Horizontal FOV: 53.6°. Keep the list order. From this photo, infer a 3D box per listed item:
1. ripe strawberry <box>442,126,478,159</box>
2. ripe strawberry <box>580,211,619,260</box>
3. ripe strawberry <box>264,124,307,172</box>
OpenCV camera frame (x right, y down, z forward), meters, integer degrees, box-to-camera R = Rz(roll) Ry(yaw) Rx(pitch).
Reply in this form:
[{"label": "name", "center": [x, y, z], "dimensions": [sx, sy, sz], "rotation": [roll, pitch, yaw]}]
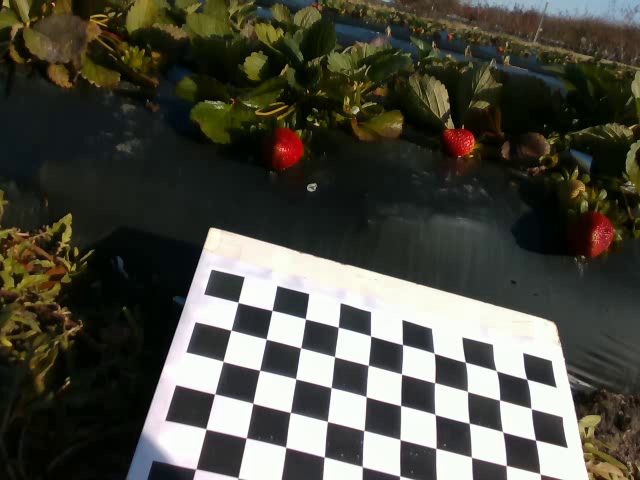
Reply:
[{"label": "ripe strawberry", "center": [0.135, -0.100, 0.628], "dimensions": [0.046, 0.035, 0.036], "rotation": [23, -49, -14]}, {"label": "ripe strawberry", "center": [0.220, -0.003, 0.525], "dimensions": [0.042, 0.042, 0.059], "rotation": [34, 32, 6]}, {"label": "ripe strawberry", "center": [-0.033, -0.080, 0.542], "dimensions": [0.045, 0.042, 0.055], "rotation": [25, 11, -4]}]
